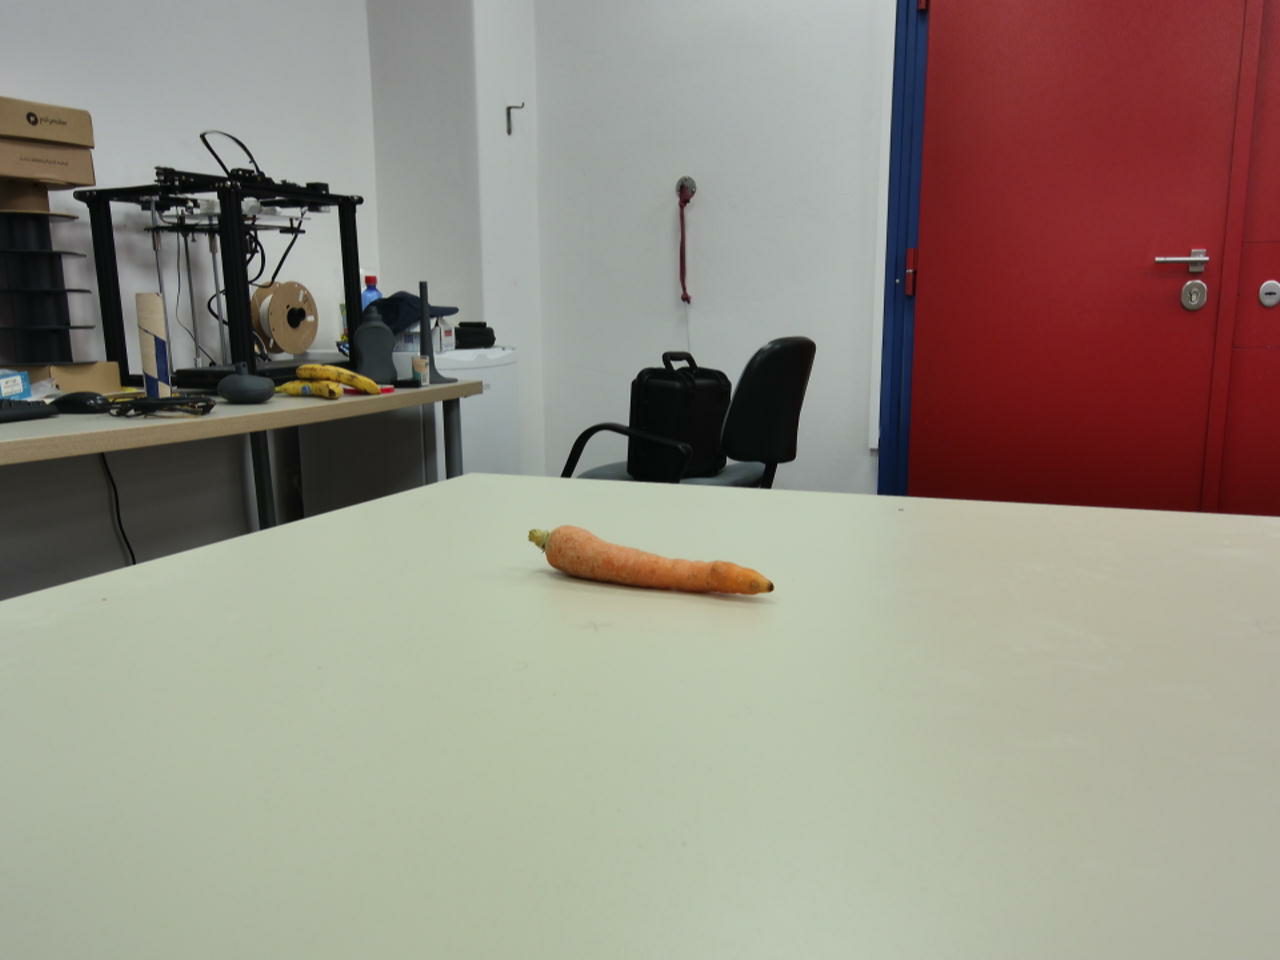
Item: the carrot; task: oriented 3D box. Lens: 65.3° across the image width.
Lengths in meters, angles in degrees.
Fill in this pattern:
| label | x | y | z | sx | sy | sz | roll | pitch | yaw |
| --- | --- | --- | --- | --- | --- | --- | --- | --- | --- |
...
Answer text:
| label | x | y | z | sx | sy | sz | roll | pitch | yaw |
| --- | --- | --- | --- | --- | --- | --- | --- | --- | --- |
| carrot | 0.001 | 0.049 | 0.614 | 0.173 | 0.032 | 0.030 | 5 | 8 | 32 |
